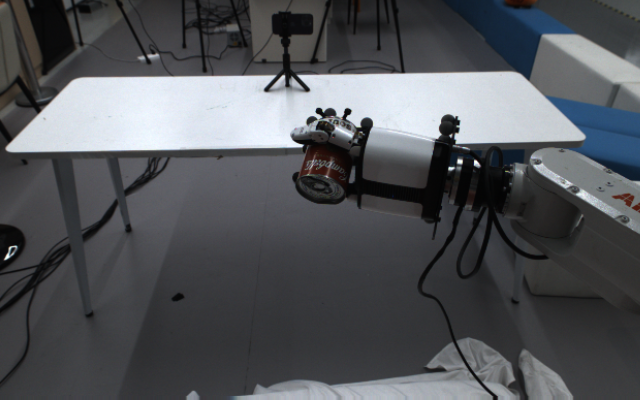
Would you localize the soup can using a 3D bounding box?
[{"bbox_3d":[0.012,-0.054,0.648,0.067,0.067,0.101,9,58,10],"label":"soup can"}]
